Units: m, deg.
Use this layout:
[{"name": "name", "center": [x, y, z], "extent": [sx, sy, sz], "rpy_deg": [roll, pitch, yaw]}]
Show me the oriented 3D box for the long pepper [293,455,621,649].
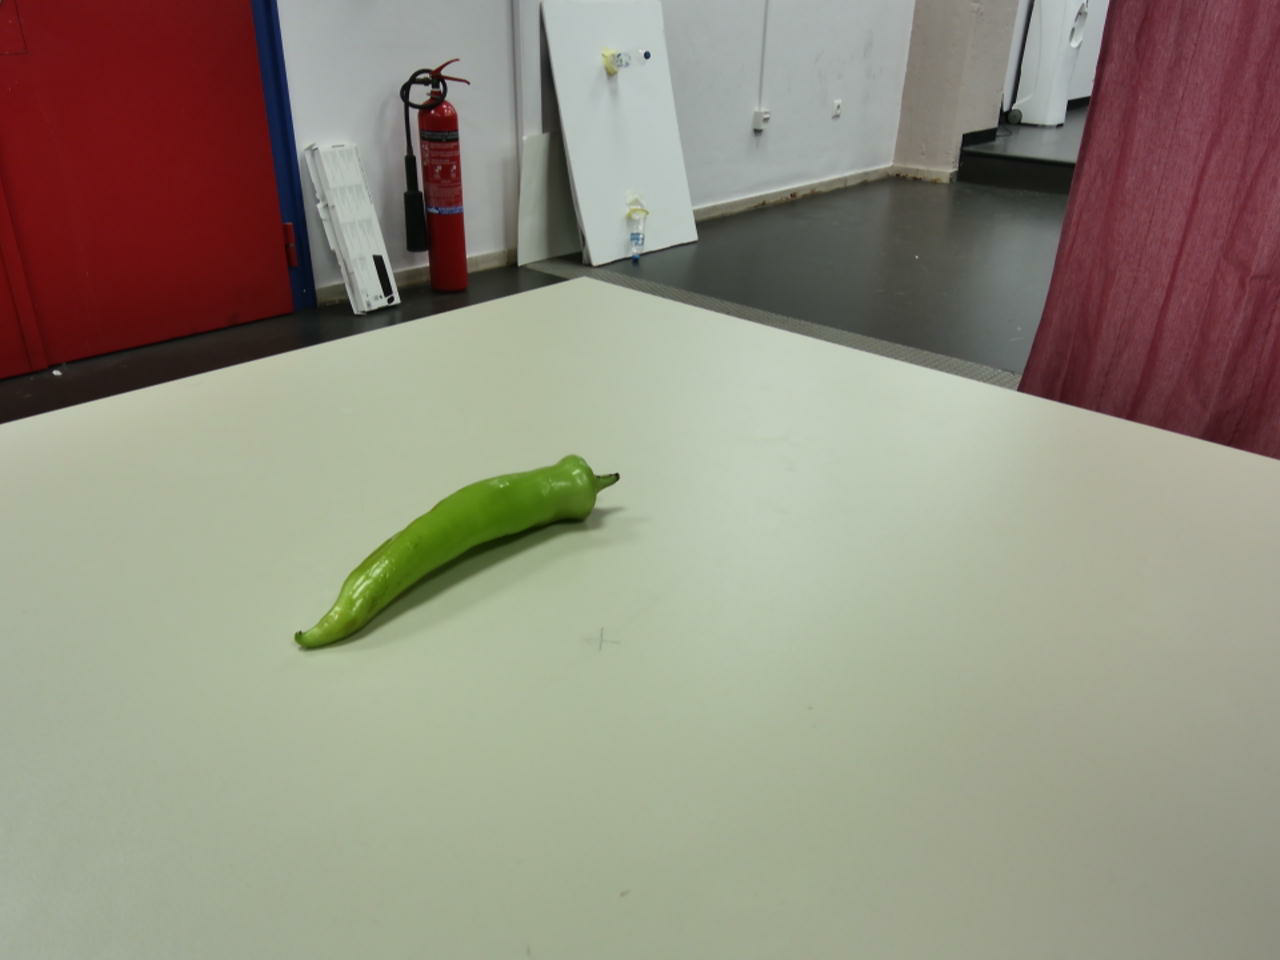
[{"name": "long pepper", "center": [-0.090, 0.026, 0.501], "extent": [0.047, 0.038, 0.197], "rpy_deg": [22, 32, 38]}]
